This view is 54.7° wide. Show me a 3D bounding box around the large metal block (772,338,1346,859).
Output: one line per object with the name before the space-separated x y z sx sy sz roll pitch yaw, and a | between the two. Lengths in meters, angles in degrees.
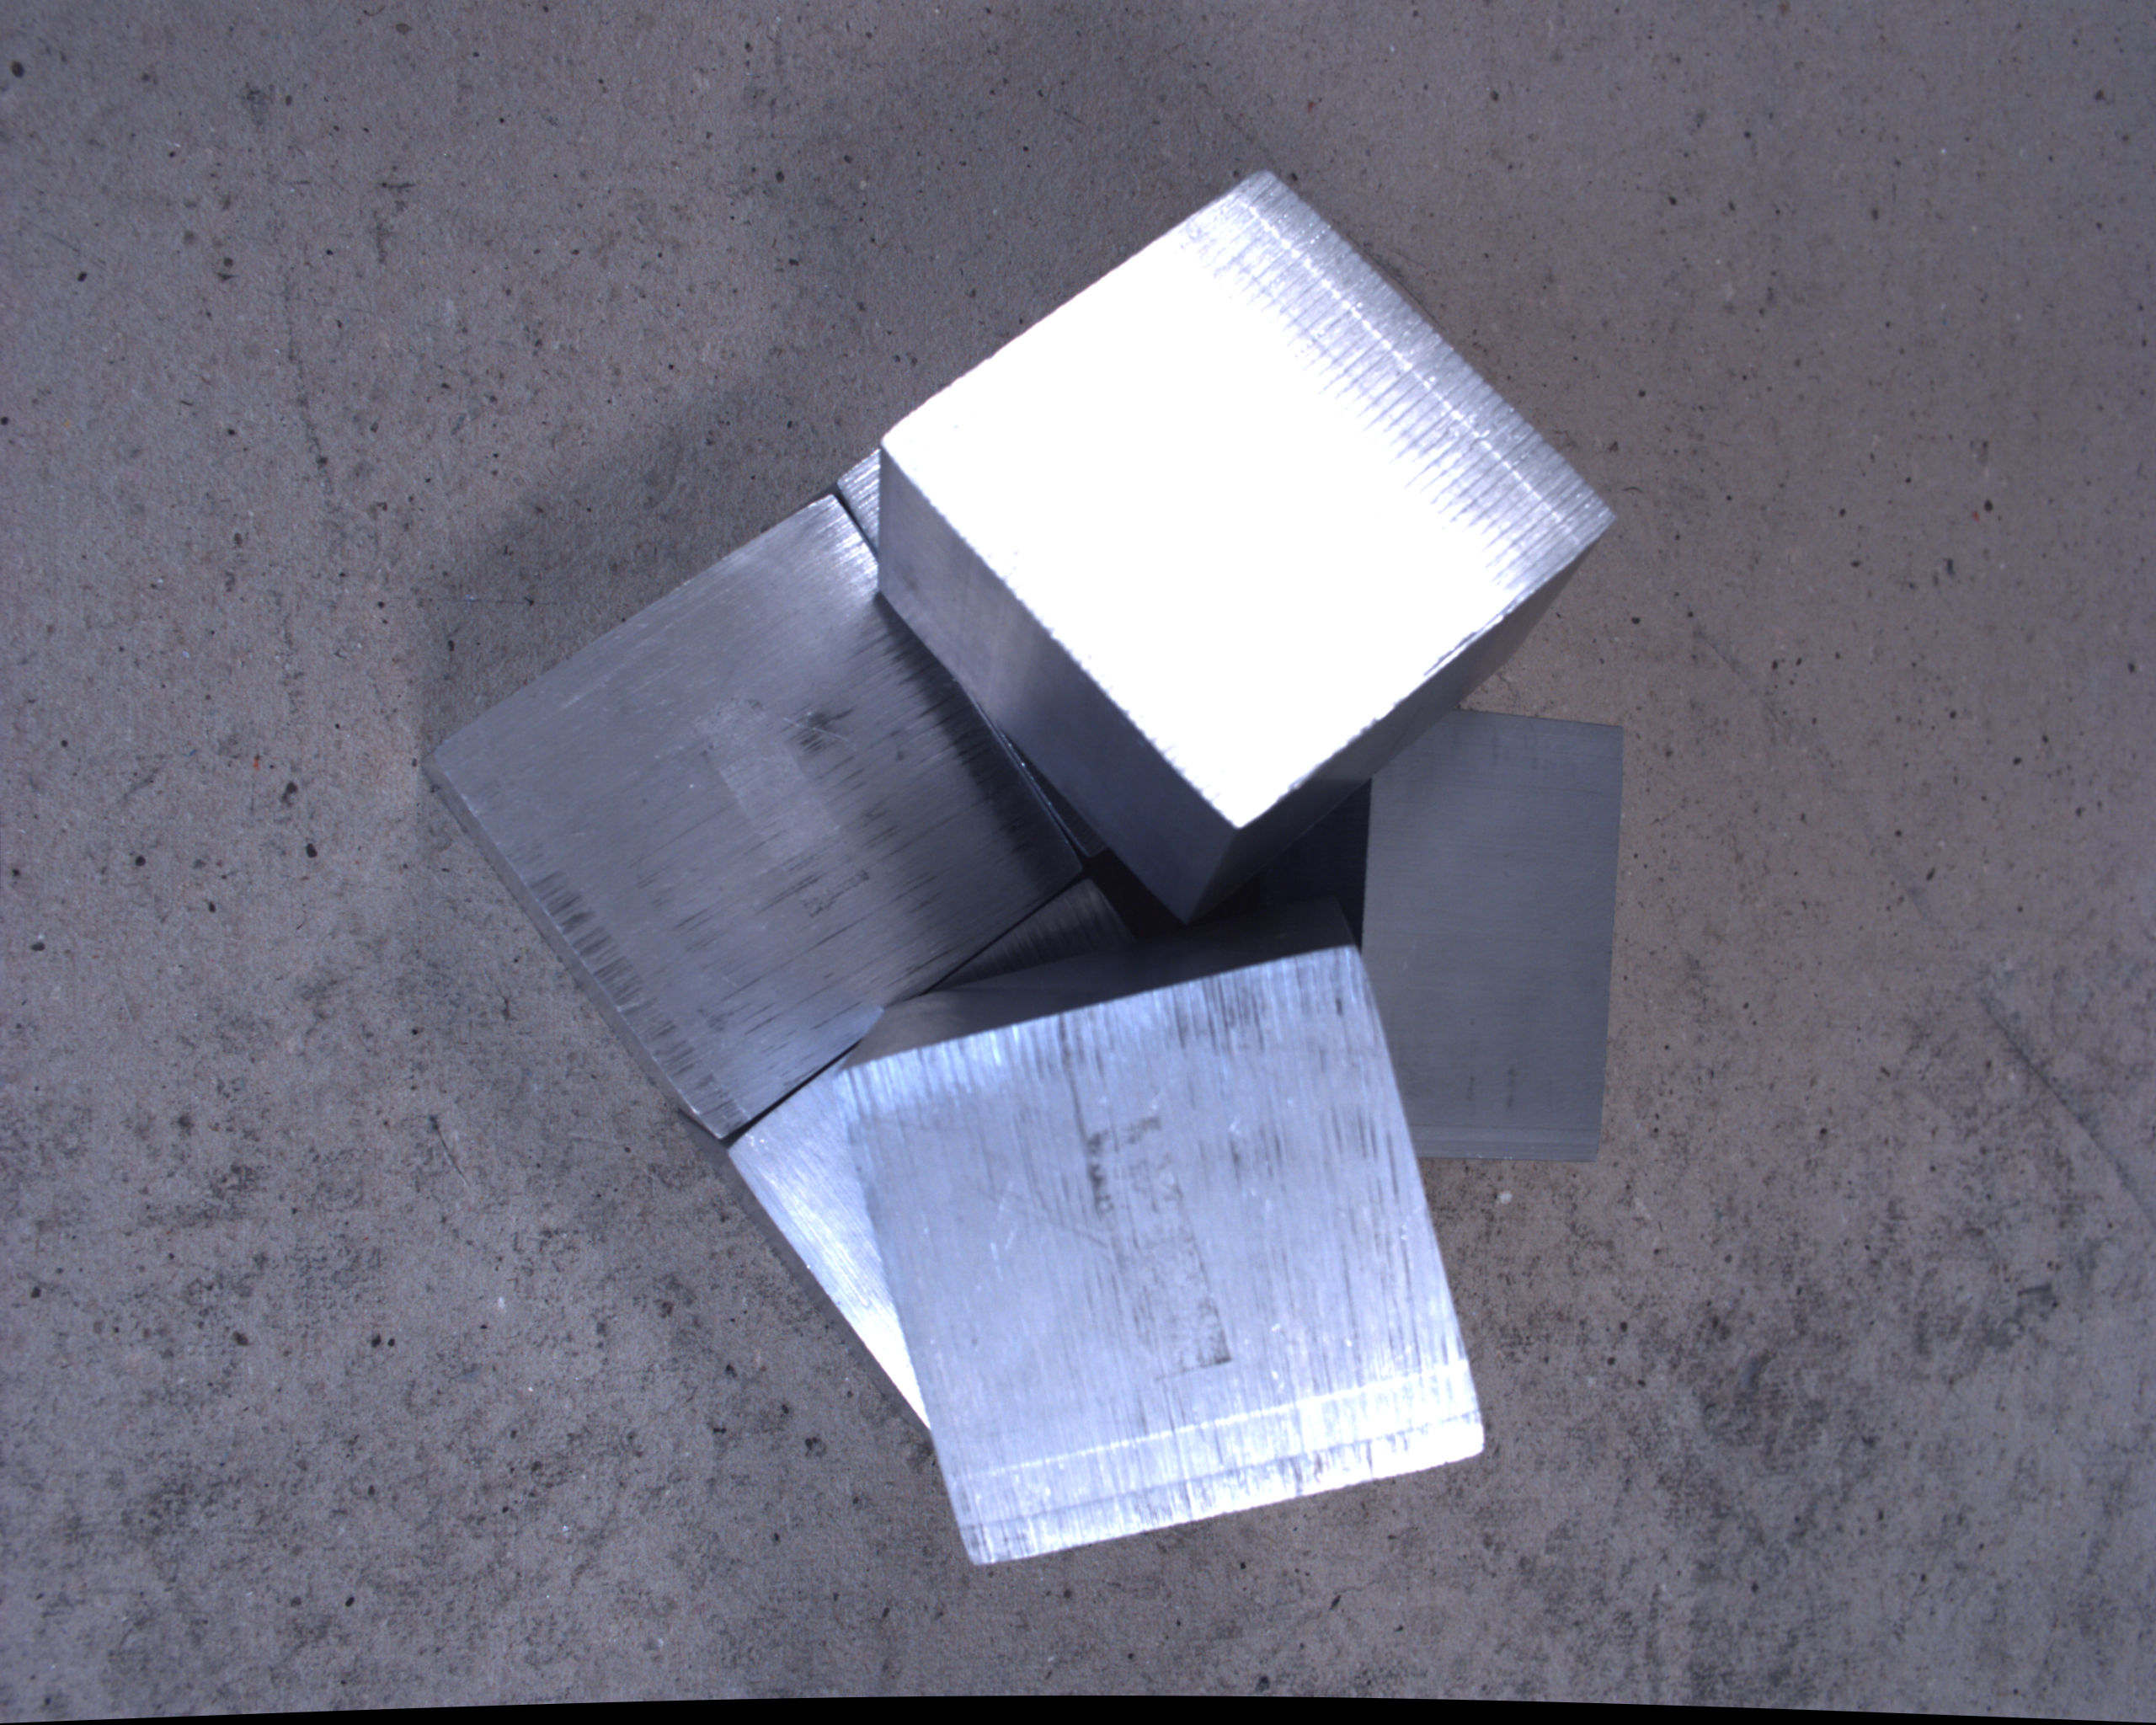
large metal block | 0.002 -0.056 0.396 0.080 0.050 0.080 -38 102 -17

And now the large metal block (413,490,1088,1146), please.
large metal block | -0.060 -0.008 0.376 0.080 0.050 0.080 -37 103 -16

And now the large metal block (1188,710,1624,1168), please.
large metal block | 0.058 0.013 0.403 0.050 0.080 0.080 4 89 -20

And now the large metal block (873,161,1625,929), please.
large metal block | 0.024 -0.050 0.336 0.080 0.050 0.080 -39 80 -16

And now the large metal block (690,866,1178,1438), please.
large metal block | -0.016 0.056 0.392 0.080 0.050 0.080 -37 102 -16

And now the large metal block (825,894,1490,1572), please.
large metal block | 0.014 0.056 0.333 0.080 0.050 0.080 -15 96 5
